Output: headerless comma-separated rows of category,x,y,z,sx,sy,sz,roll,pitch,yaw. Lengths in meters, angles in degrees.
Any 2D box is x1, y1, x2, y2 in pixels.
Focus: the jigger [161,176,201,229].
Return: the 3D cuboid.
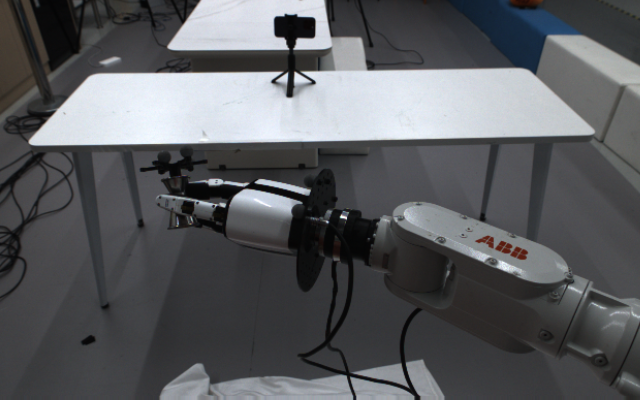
jigger,-0.189,0.004,0.660,0.043,0.071,0.043,-10,-3,-1
